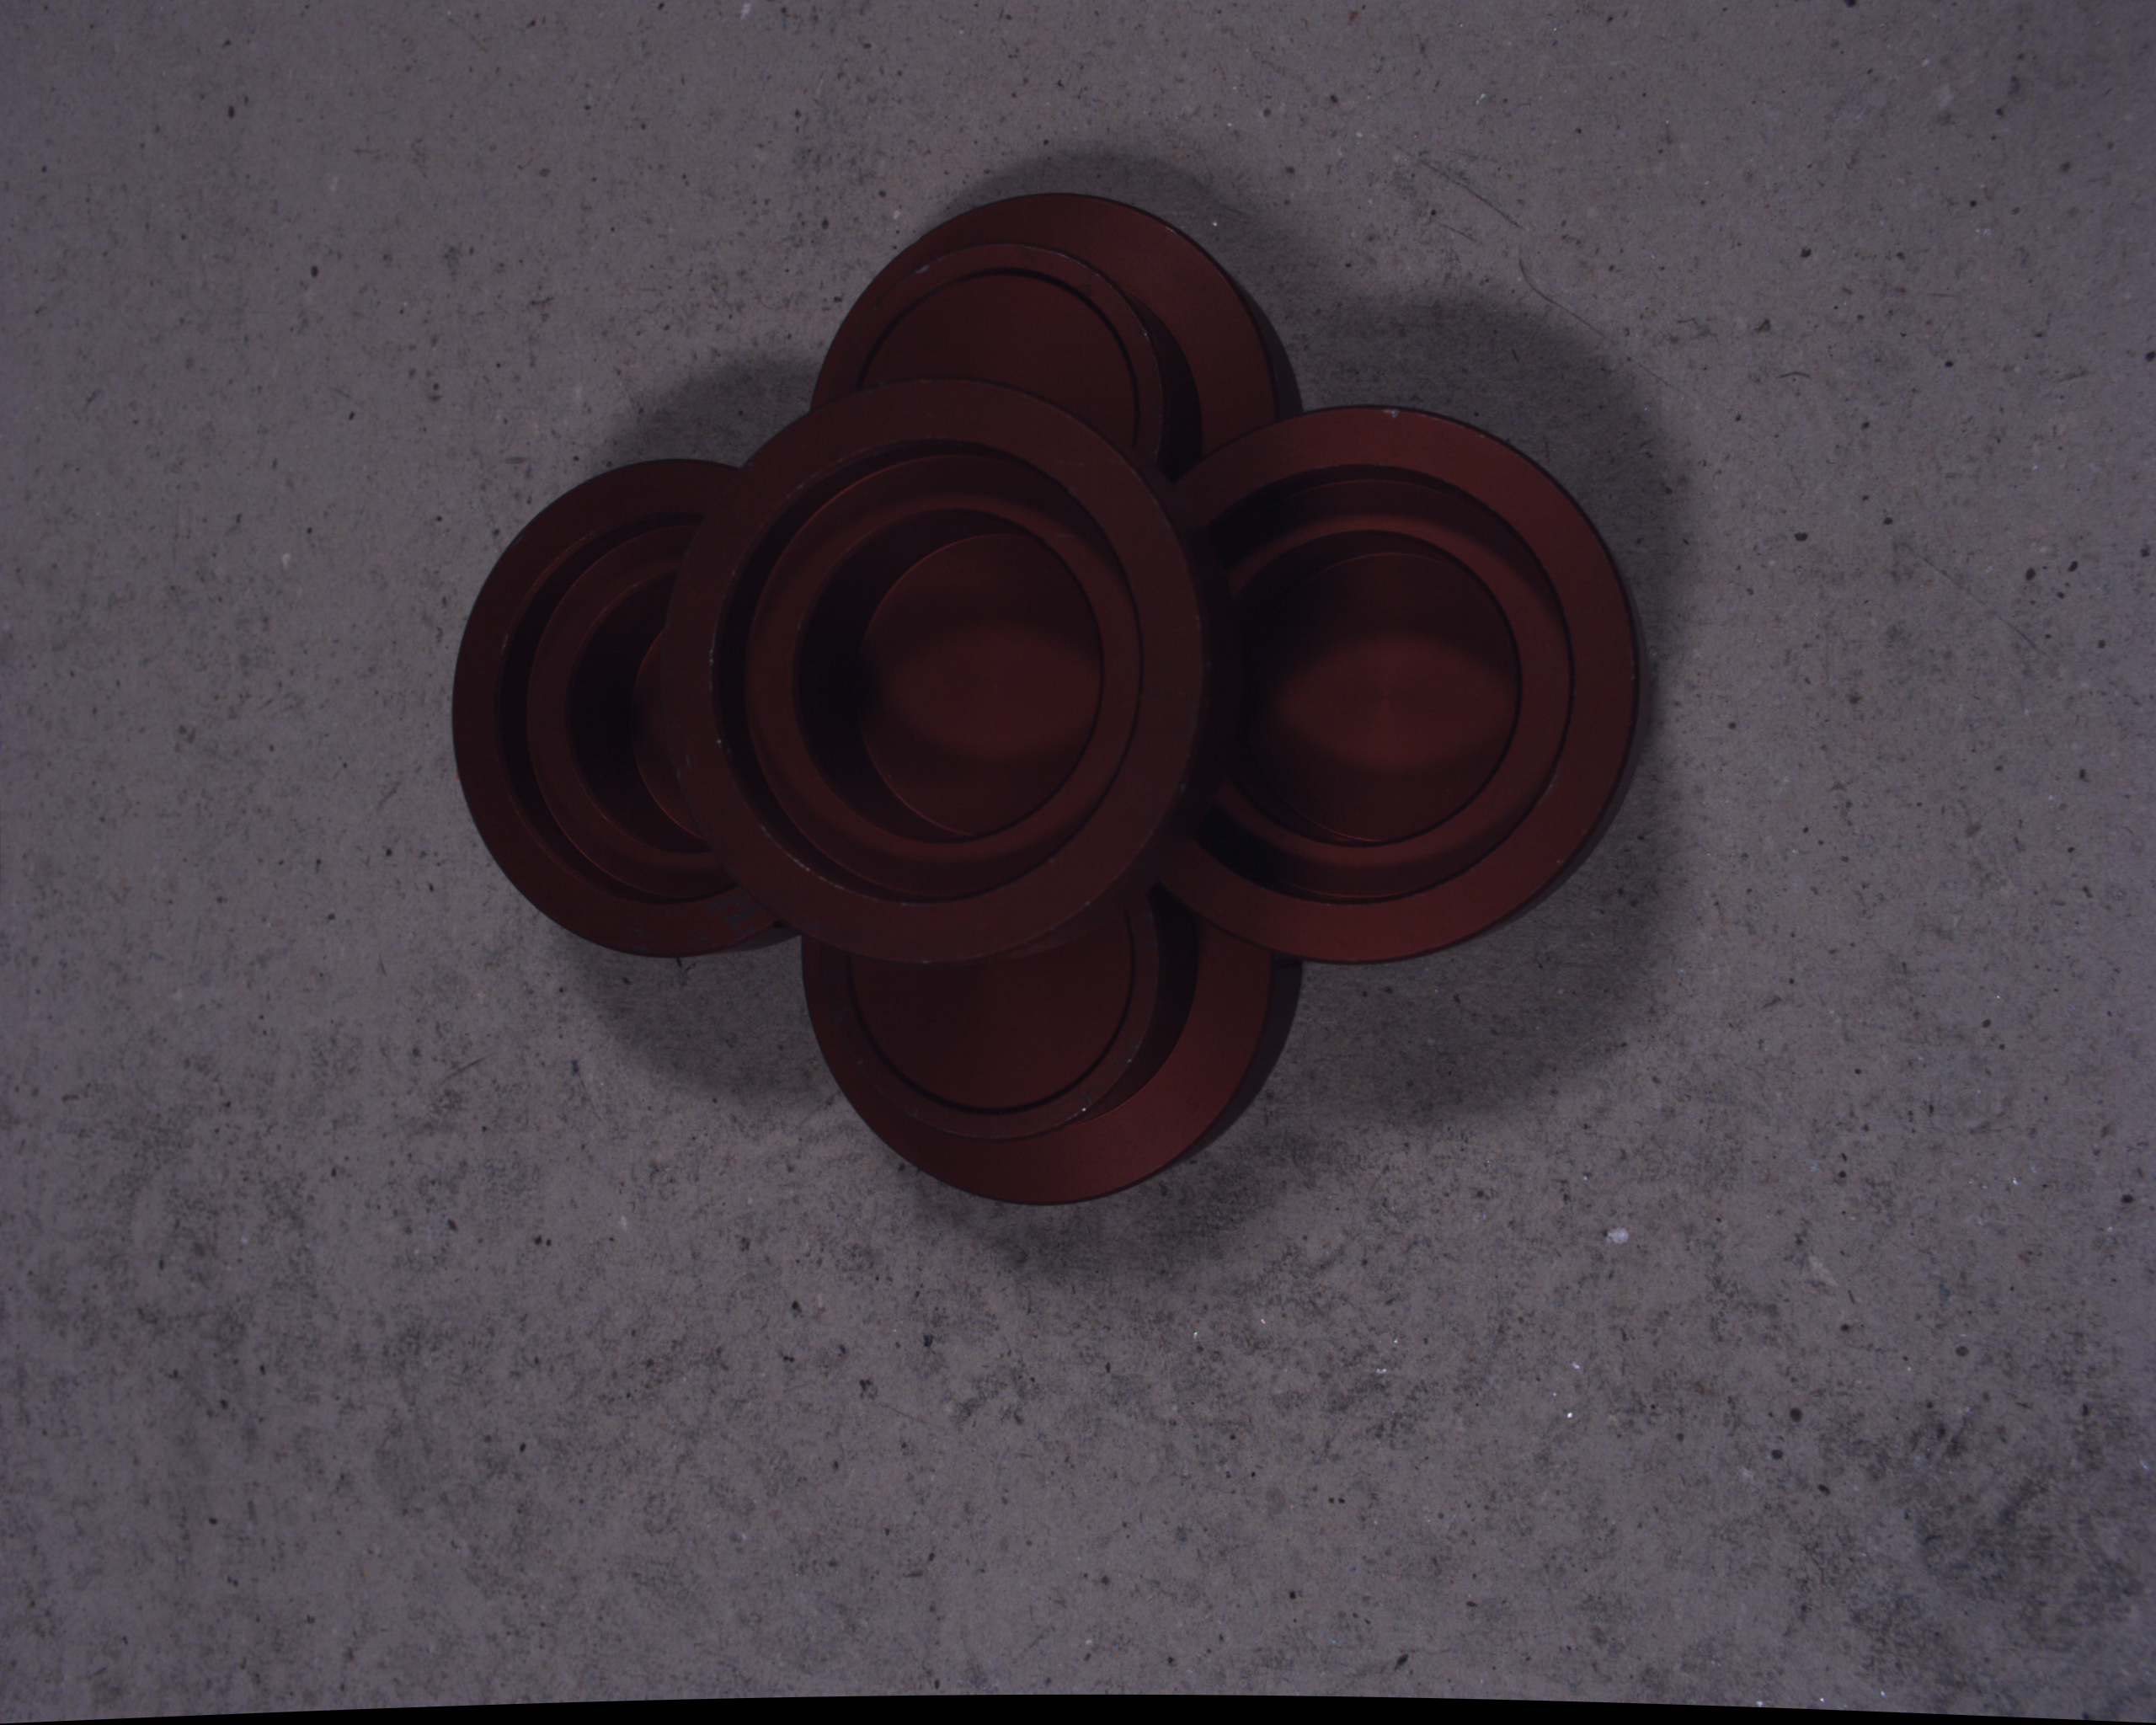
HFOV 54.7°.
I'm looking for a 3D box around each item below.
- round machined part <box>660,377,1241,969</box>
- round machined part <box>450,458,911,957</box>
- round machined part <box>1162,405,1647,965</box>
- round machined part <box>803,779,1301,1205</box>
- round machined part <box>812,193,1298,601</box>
[{"bbox_3d":[-0.019,-0.031,0.362,0.098,0.042,0.097,0,90,19],"label":"round machined part"},{"bbox_3d":[-0.074,-0.030,0.426,0.098,0.042,0.097,0,90,19],"label":"round machined part"},{"bbox_3d":[0.054,-0.031,0.381,0.098,0.042,0.097,0,90,19],"label":"round machined part"},{"bbox_3d":[-0.010,0.018,0.403,0.098,0.042,0.097,0,90,19],"label":"round machined part"},{"bbox_3d":[-0.009,-0.081,0.403,0.098,0.042,0.097,0,90,19],"label":"round machined part"}]
